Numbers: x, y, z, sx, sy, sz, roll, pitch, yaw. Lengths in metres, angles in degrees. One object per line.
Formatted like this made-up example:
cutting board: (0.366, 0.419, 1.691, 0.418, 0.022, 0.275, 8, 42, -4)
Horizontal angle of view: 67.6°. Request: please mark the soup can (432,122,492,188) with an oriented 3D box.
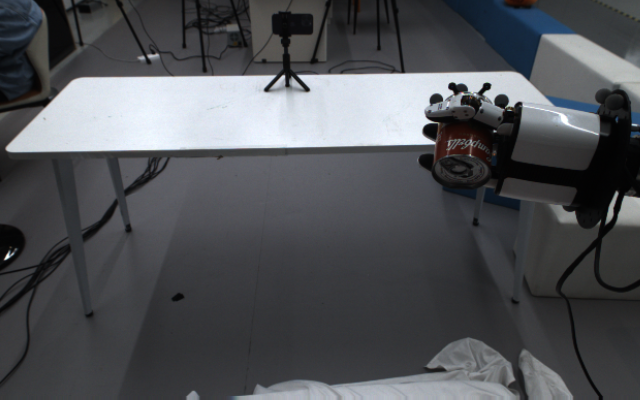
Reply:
soup can: (0.176, -0.073, 0.585, 0.067, 0.067, 0.101, 9, 58, 10)
